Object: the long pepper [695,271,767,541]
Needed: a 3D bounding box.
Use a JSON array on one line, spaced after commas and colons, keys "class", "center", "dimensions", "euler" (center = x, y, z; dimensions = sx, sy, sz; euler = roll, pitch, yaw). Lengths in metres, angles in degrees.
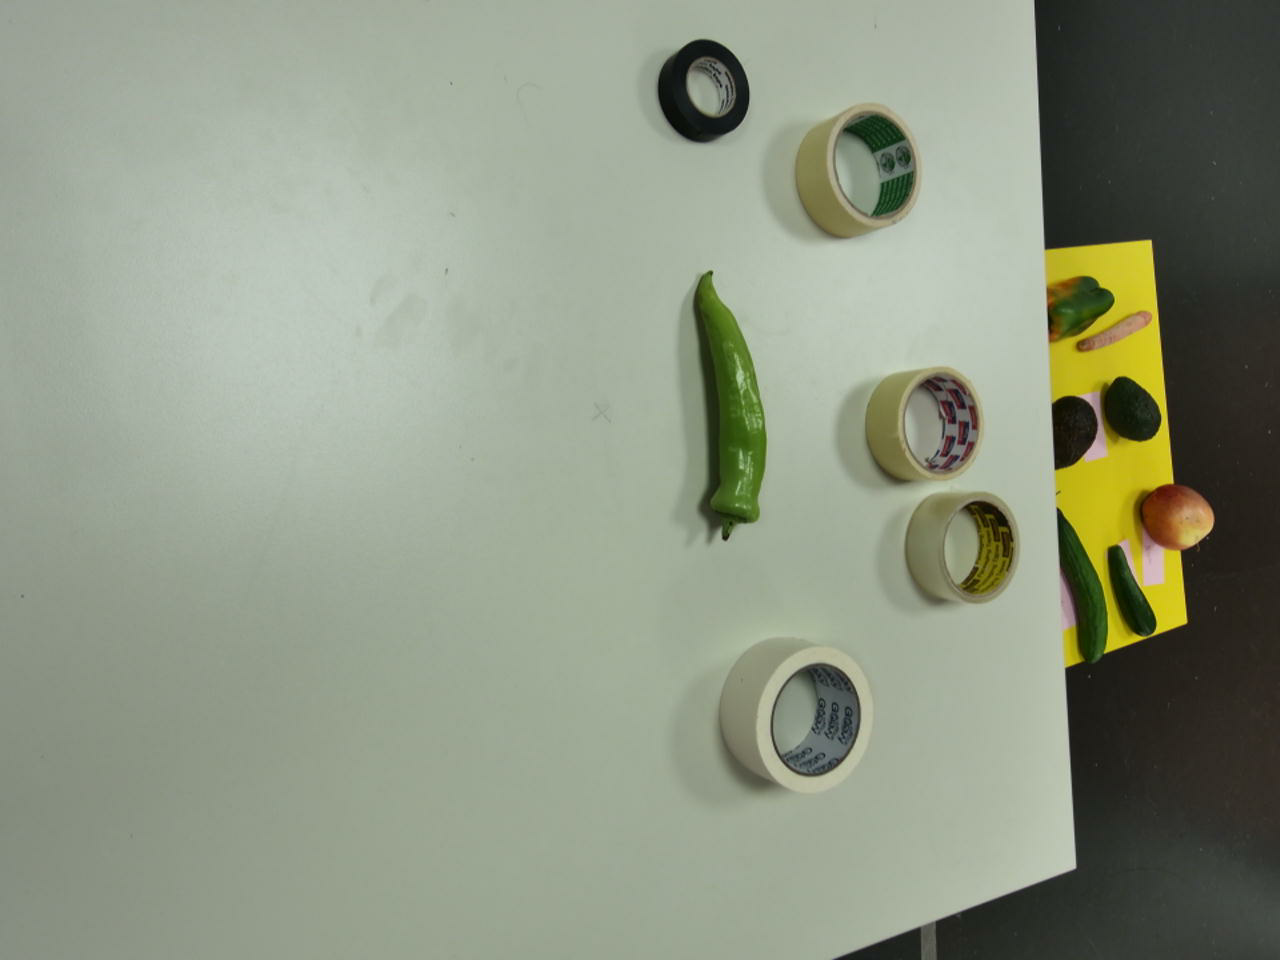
[{"class": "long pepper", "center": [0.069, -0.055, 0.723], "dimensions": [0.046, 0.038, 0.197], "euler": [-3, 92, -28]}]
